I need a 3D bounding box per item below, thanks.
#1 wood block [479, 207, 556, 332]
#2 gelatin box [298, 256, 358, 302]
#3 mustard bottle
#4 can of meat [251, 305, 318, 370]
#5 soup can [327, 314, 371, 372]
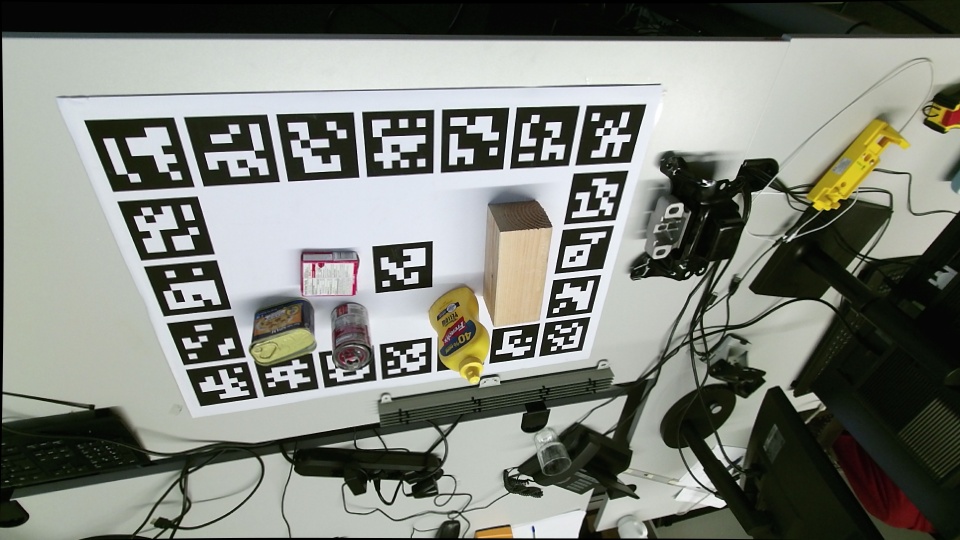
[{"bbox_3d":[0.060,0.002,0.935,0.091,0.089,0.206,-4,130,-13],"label":"wood block"},{"bbox_3d":[-0.250,0.015,0.879,0.090,0.030,0.073,2,123,-22],"label":"gelatin box"},{"bbox_3d":[-0.030,0.124,0.938,0.096,0.190,0.058,-26,129,4],"label":"mustard bottle"},{"bbox_3d":[-0.325,0.112,0.899,0.102,0.083,0.058,-16,128,-3],"label":"can of meat"},{"bbox_3d":[-0.227,0.131,0.921,0.068,0.101,0.068,-9,126,-12],"label":"soup can"}]
